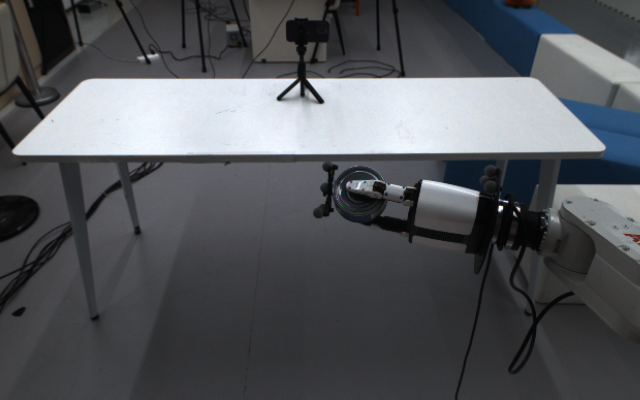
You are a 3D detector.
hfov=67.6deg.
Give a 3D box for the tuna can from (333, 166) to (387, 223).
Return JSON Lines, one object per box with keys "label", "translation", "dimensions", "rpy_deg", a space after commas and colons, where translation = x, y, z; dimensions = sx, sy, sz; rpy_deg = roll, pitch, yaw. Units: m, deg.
{"label": "tuna can", "translation": [0.065, -0.007, 0.747], "dimensions": [0.085, 0.034, 0.085], "rpy_deg": [-2, 69, 6]}
